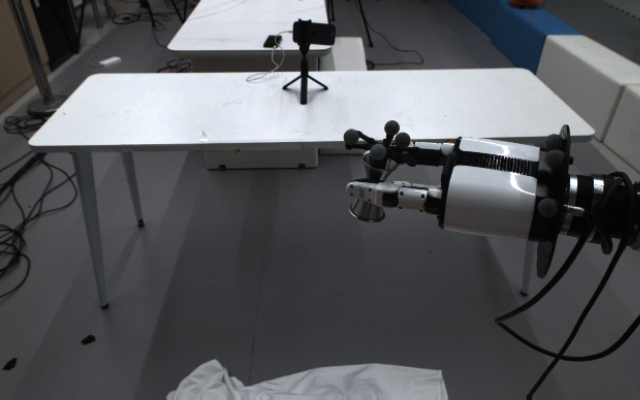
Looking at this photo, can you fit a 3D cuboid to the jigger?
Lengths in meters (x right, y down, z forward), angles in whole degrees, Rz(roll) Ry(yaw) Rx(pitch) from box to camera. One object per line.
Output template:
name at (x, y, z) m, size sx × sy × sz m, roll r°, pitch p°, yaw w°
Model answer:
jigger at (0.061, -0.014, 0.561) m, size 0.043 × 0.071 × 0.043 m, roll 9°, pitch 30°, yaw -5°
